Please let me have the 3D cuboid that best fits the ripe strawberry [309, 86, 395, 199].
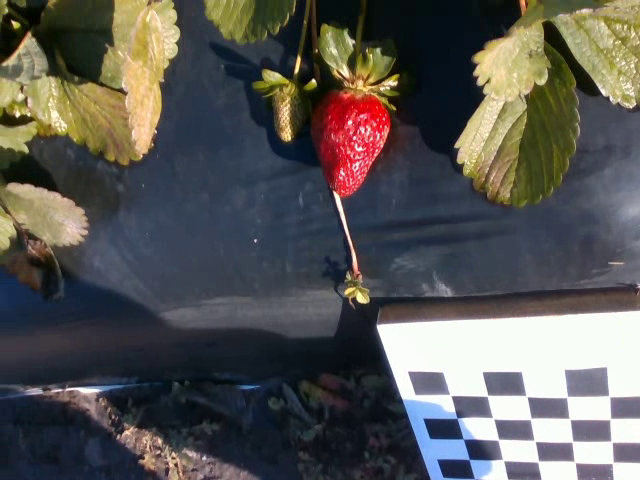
[{"bbox_3d":[0.013,-0.045,0.293,0.041,0.053,0.043,2,-5,13],"label":"ripe strawberry"}]
